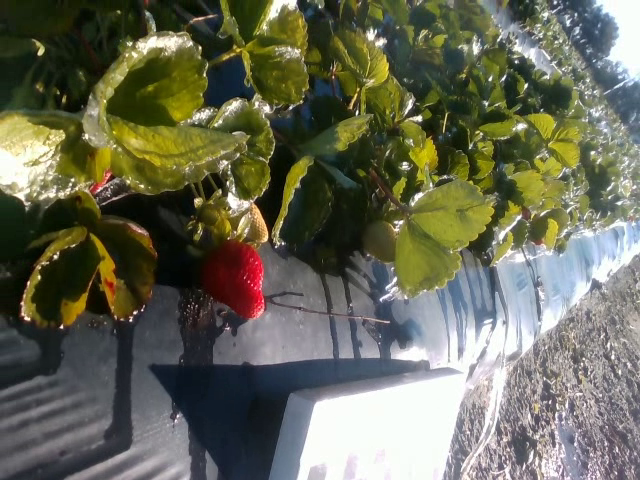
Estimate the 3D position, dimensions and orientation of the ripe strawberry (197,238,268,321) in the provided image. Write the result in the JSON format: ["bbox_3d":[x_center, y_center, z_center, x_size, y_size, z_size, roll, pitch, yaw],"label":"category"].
[{"bbox_3d":[-0.034,0.022,0.261,0.039,0.040,0.039,0,38,-45],"label":"ripe strawberry"}]
